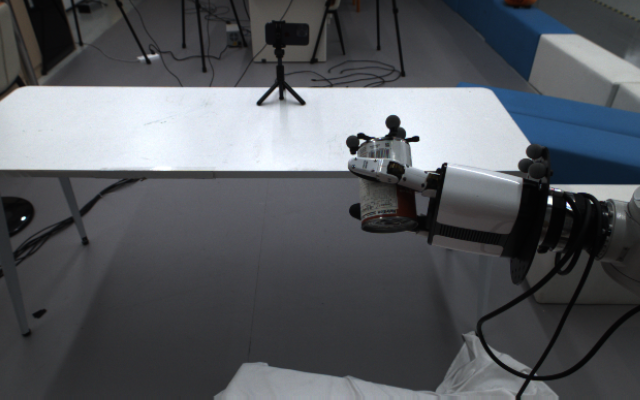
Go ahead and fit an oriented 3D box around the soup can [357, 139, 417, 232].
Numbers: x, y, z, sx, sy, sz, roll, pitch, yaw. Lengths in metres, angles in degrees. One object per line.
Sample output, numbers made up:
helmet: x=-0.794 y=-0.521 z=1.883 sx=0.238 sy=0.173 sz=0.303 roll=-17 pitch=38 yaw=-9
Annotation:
soup can: x=0.081 y=-0.019 z=0.588 sx=0.067 sy=0.067 sz=0.101 roll=0 pitch=72 yaw=-4
